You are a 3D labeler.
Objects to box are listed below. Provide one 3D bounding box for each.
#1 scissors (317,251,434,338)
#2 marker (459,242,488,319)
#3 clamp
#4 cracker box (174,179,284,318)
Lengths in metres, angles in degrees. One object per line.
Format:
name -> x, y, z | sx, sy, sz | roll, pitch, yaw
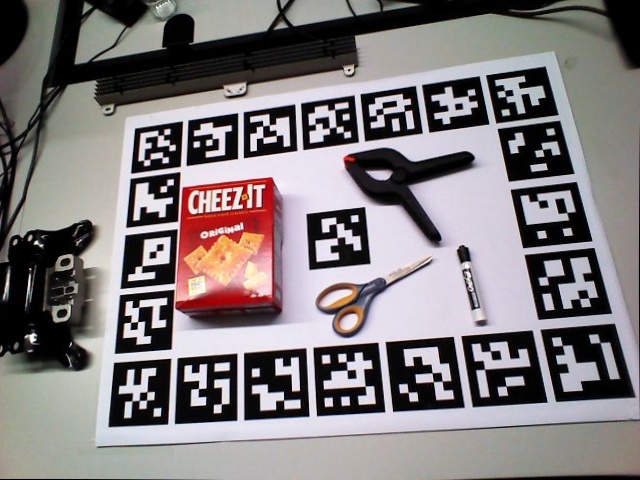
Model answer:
scissors -> 0.091, 0.071, 0.808 | 0.203, 0.016, 0.087 | -32, 65, -5
marker -> 0.232, 0.059, 0.783 | 0.020, 0.019, 0.120 | -10, 67, 7
clamp -> 0.133, -0.106, 0.875 | 0.203, 0.037, 0.164 | 23, 73, 18
cracker box -> -0.146, 0.013, 0.851 | 0.165, 0.072, 0.212 | -5, 68, 9
